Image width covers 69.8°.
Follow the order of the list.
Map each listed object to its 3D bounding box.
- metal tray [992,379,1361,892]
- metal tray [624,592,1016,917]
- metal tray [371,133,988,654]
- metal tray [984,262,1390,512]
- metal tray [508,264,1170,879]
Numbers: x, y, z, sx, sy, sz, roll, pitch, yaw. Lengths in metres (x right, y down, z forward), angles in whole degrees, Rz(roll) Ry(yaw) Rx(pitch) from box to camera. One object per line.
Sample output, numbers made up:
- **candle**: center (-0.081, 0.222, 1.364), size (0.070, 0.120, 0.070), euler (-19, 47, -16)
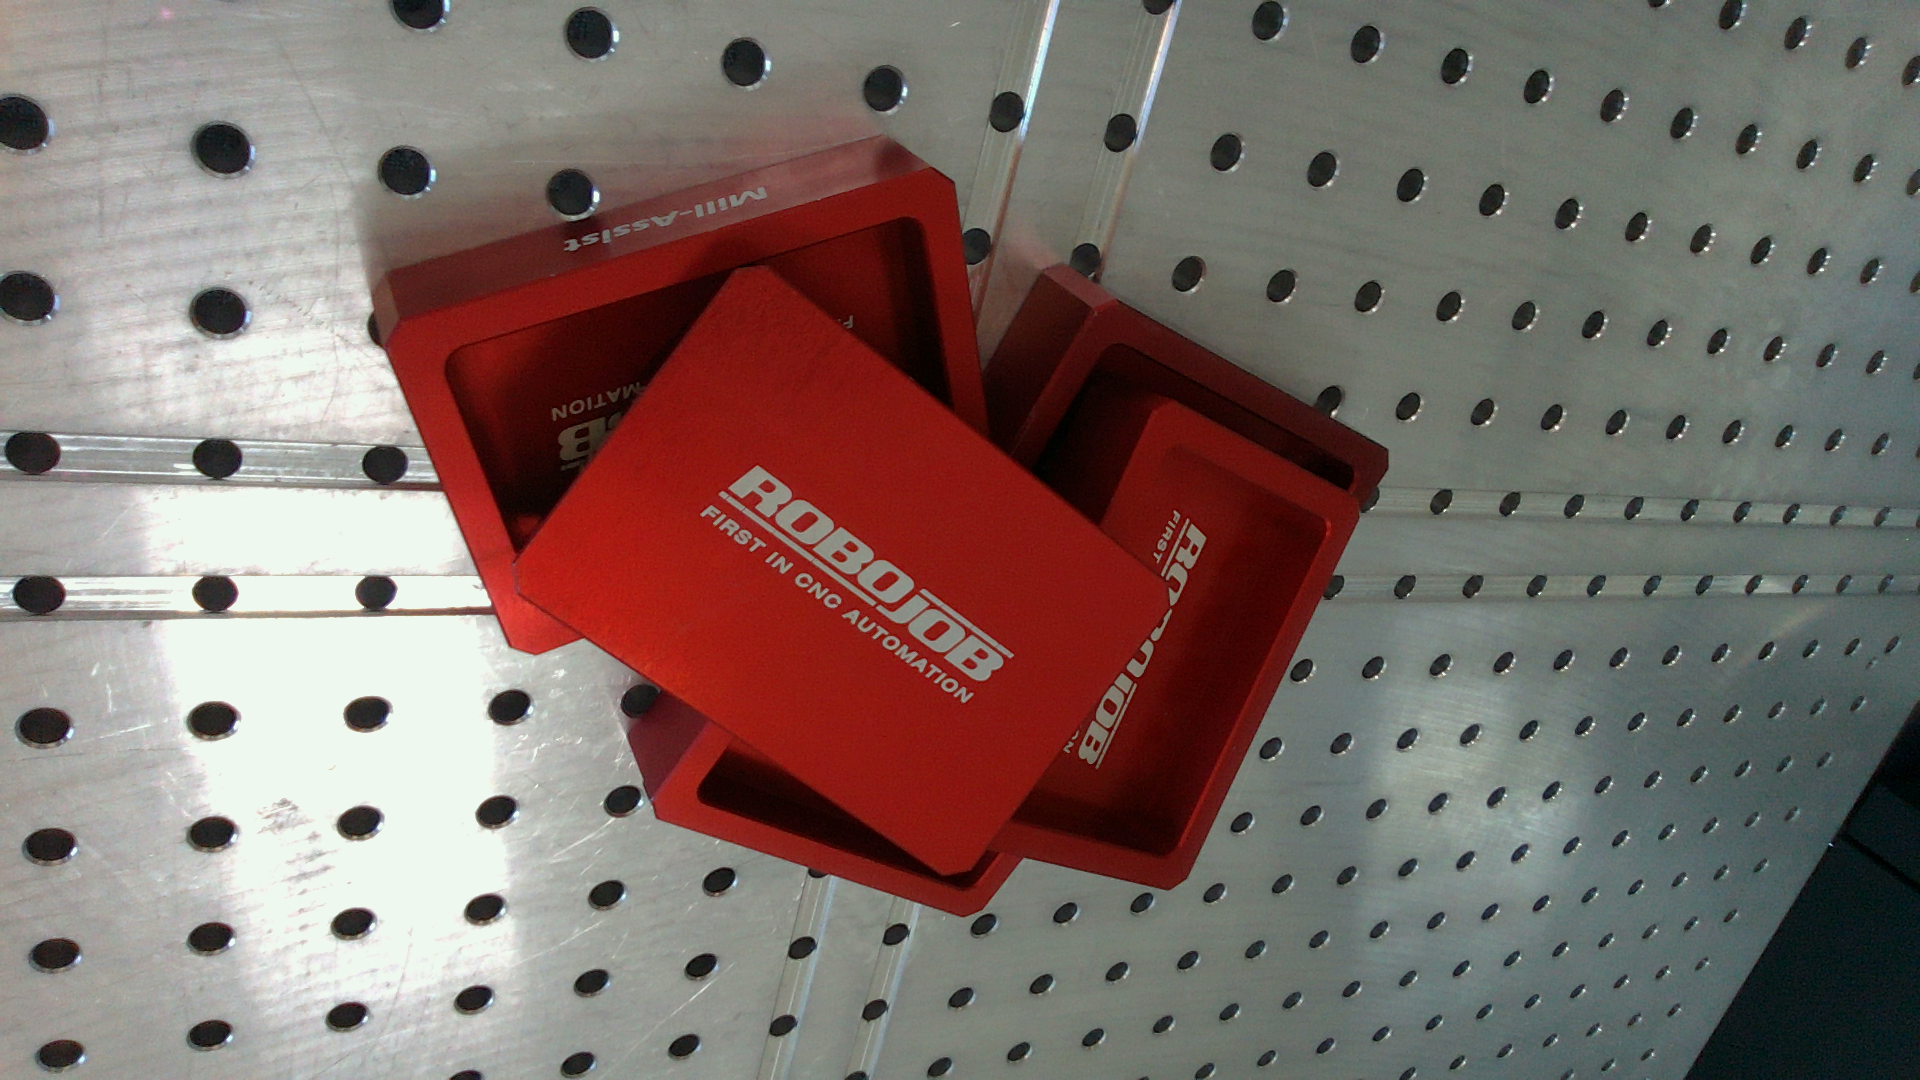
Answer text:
- **metal tray**: center (0.052, 0.031, 0.396), size (0.090, 0.030, 0.130), euler (22, 95, -36)
- **metal tray**: center (-0.021, 0.057, 0.412), size (0.130, 0.030, 0.090), euler (29, 102, -38)
- **metal tray**: center (-0.061, -0.036, 0.333), size (0.130, 0.030, 0.090), euler (-20, 126, -16)
- **metal tray**: center (0.058, -0.014, 0.410), size (0.130, 0.030, 0.090), euler (21, 107, -35)
- **metal tray**: center (-0.026, 0.009, 0.327), size (0.130, 0.030, 0.090), euler (37, 90, -17)
